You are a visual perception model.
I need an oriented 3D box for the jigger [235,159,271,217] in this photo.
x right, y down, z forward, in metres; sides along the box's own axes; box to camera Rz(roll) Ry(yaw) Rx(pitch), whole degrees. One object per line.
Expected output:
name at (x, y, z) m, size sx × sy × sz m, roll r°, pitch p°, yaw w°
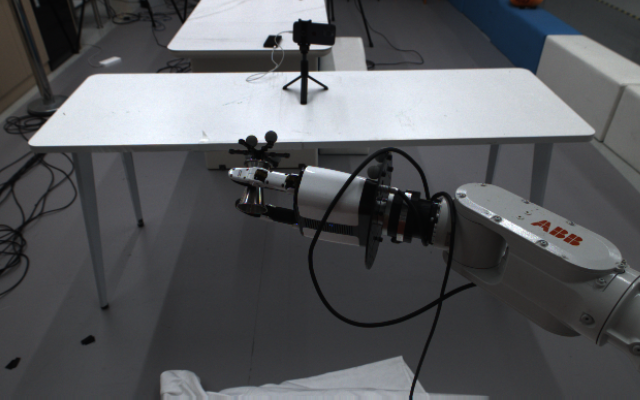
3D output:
jigger at (-0.094, -0.020, 0.687) m, size 0.043 × 0.043 × 0.071 m, roll 4°, pitch 71°, yaw 3°
